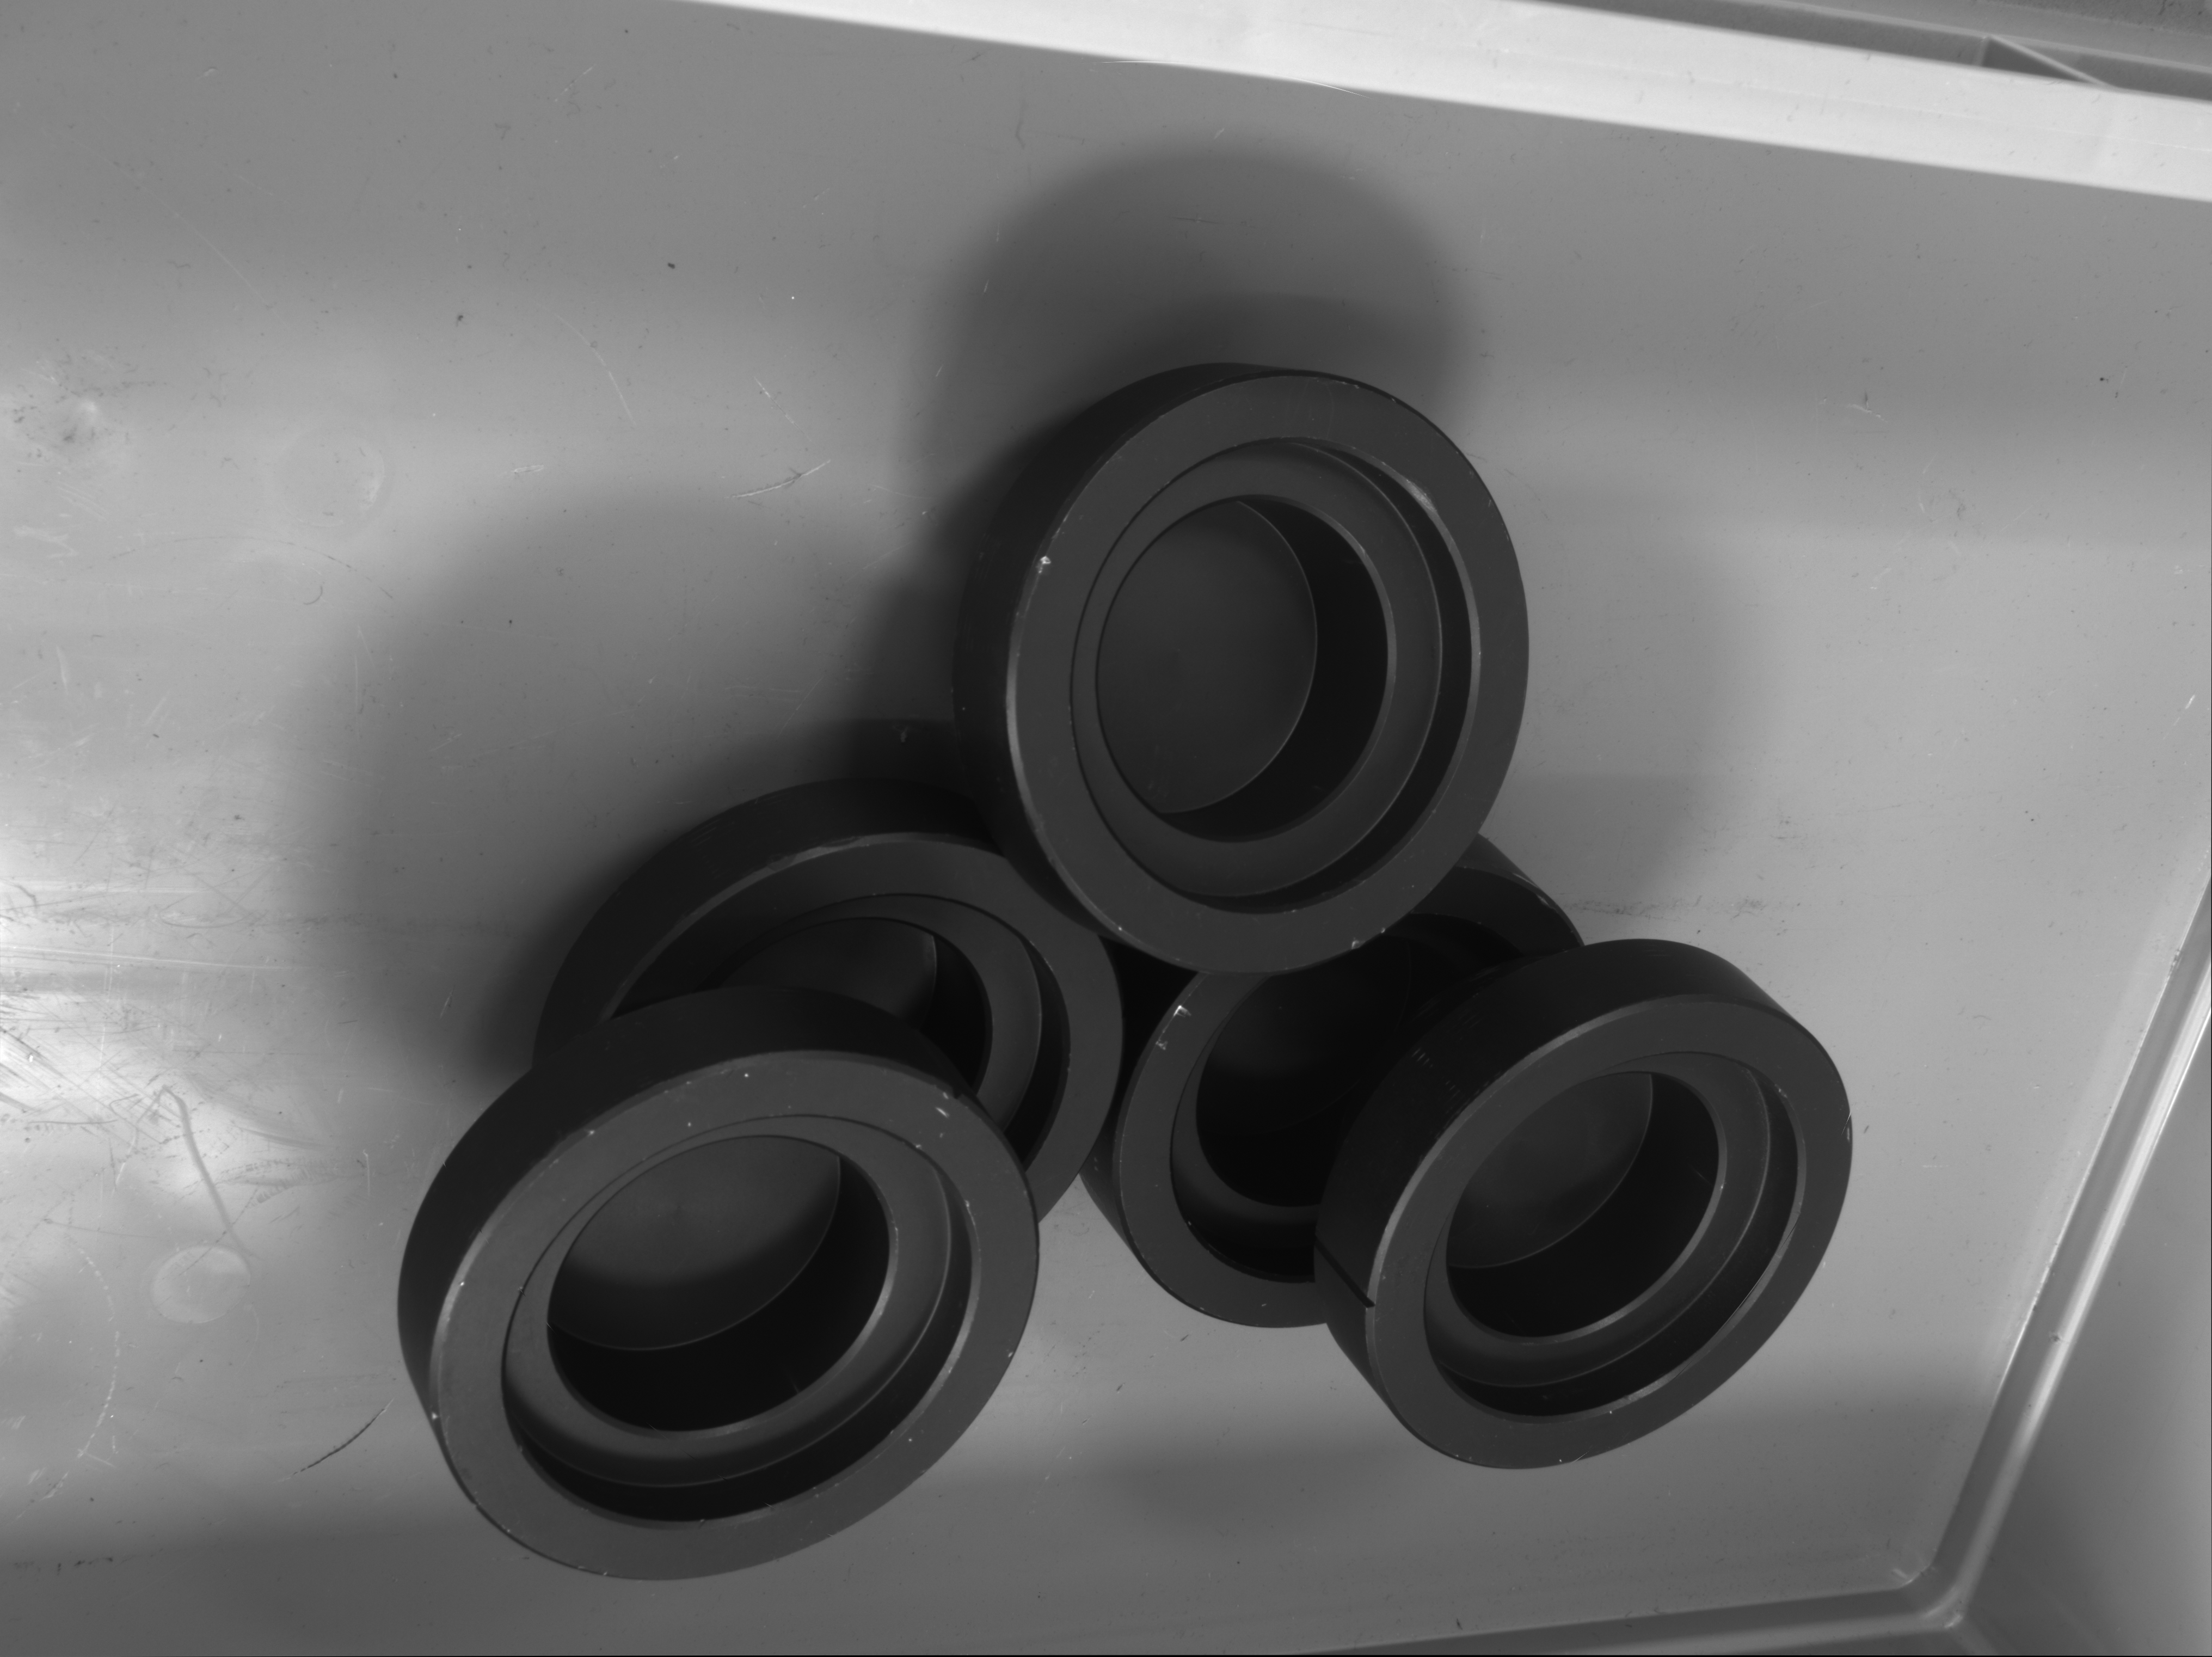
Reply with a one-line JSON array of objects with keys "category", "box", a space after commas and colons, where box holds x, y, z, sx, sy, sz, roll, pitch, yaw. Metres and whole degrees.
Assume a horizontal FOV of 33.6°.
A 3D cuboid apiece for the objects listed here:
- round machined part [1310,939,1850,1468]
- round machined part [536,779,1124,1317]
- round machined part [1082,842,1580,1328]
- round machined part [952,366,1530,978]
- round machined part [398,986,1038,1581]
[{"category": "round machined part", "box": [0.079, 0.062, 0.652, 0.098, 0.042, 0.098, -14, 124, -21]}, {"category": "round machined part", "box": [-0.050, 0.035, 0.619, 0.098, 0.042, 0.098, -14, 124, -21]}, {"category": "round machined part", "box": [0.037, 0.039, 0.669, 0.098, 0.042, 0.098, -14, 124, -21]}, {"category": "round machined part", "box": [0.018, -0.027, 0.605, 0.098, 0.042, 0.098, -6, 103, -28]}, {"category": "round machined part", "box": [-0.064, 0.067, 0.578, 0.098, 0.042, 0.098, -14, 124, -21]}]
